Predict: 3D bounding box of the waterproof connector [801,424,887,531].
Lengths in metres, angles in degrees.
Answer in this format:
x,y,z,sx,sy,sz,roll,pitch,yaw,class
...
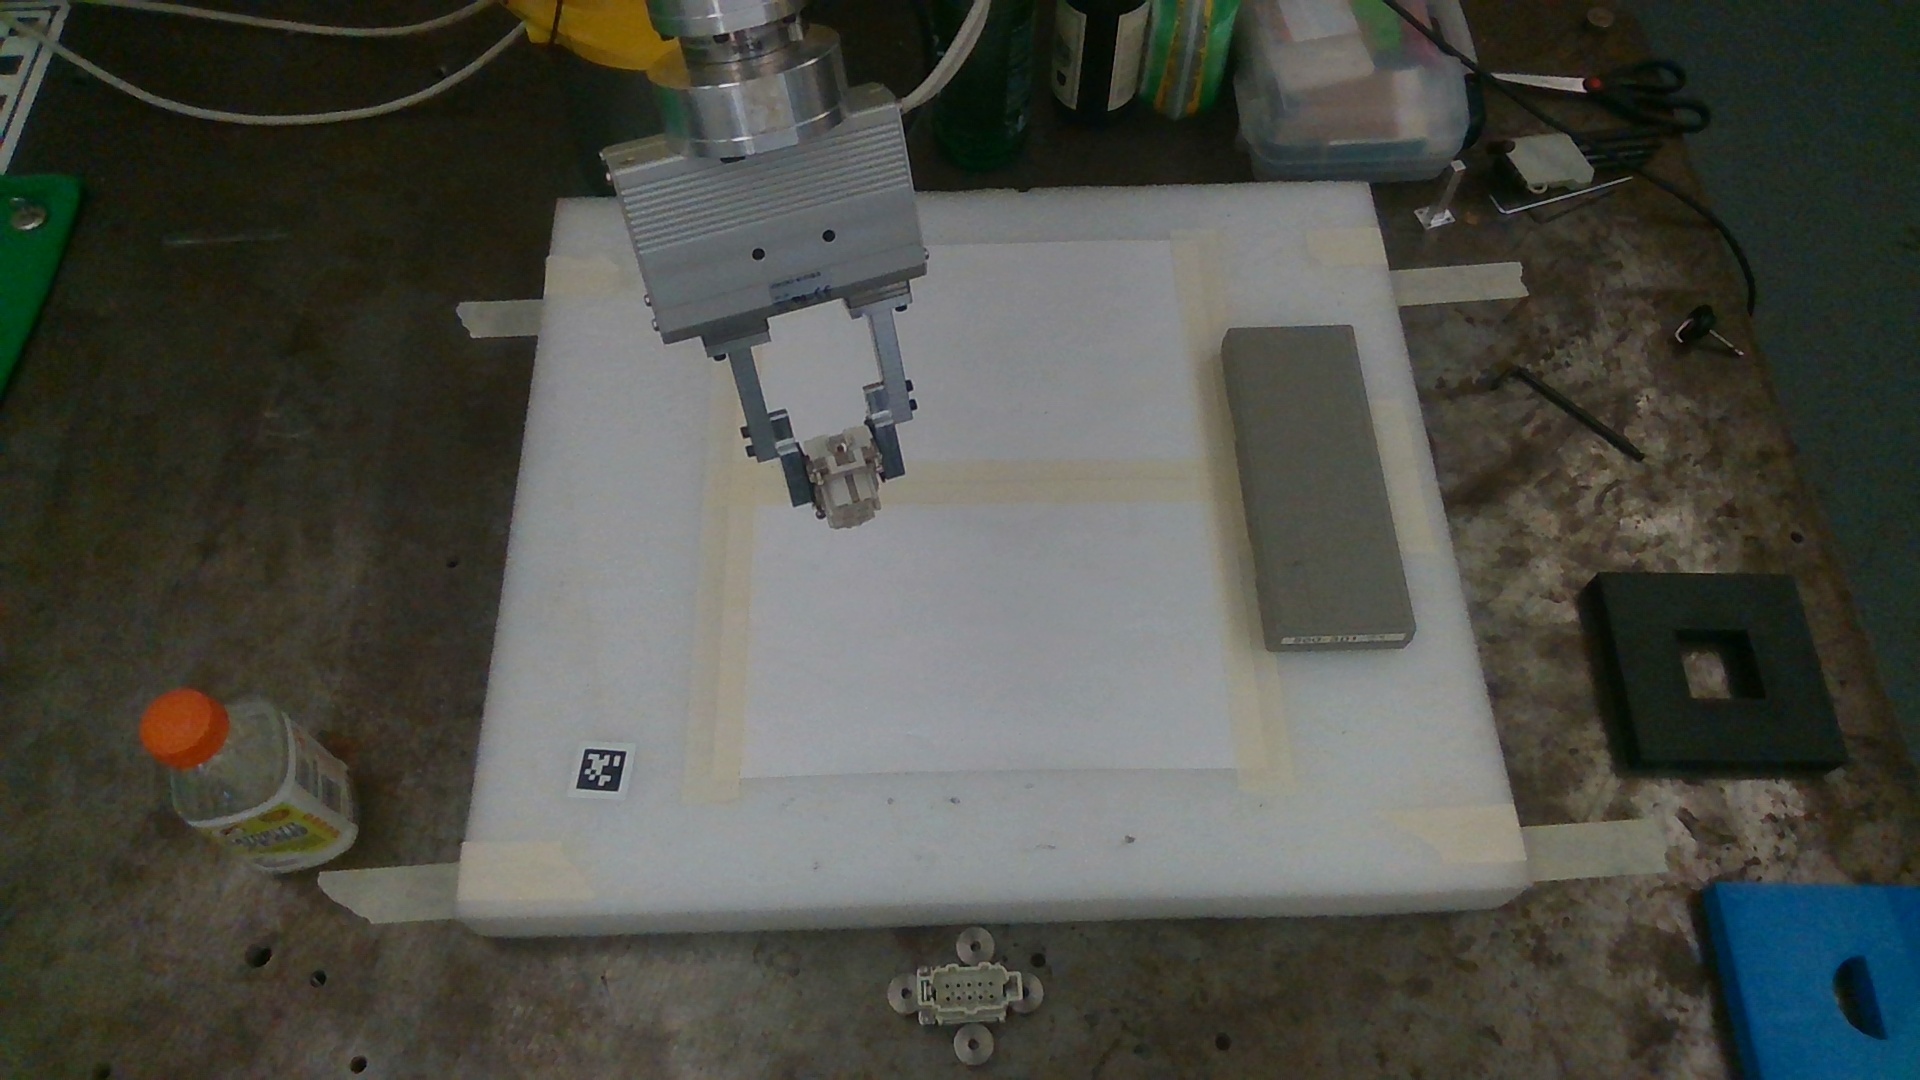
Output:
x,y,z,sx,sy,sz,roll,pitch,yaw,class
-0.054,-0.028,0.665,0.037,0.069,0.038,-15,79,-5,waterproof connector
